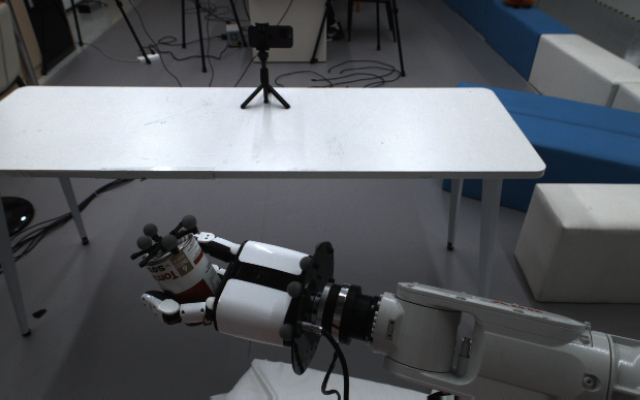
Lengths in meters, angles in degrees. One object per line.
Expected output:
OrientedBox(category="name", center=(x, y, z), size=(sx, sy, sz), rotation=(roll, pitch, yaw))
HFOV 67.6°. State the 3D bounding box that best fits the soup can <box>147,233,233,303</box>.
OrientedBox(category="soup can", center=(-0.163, 0.098, 0.607), size=(0.067, 0.101, 0.067), rotation=(-22, 24, 10))
